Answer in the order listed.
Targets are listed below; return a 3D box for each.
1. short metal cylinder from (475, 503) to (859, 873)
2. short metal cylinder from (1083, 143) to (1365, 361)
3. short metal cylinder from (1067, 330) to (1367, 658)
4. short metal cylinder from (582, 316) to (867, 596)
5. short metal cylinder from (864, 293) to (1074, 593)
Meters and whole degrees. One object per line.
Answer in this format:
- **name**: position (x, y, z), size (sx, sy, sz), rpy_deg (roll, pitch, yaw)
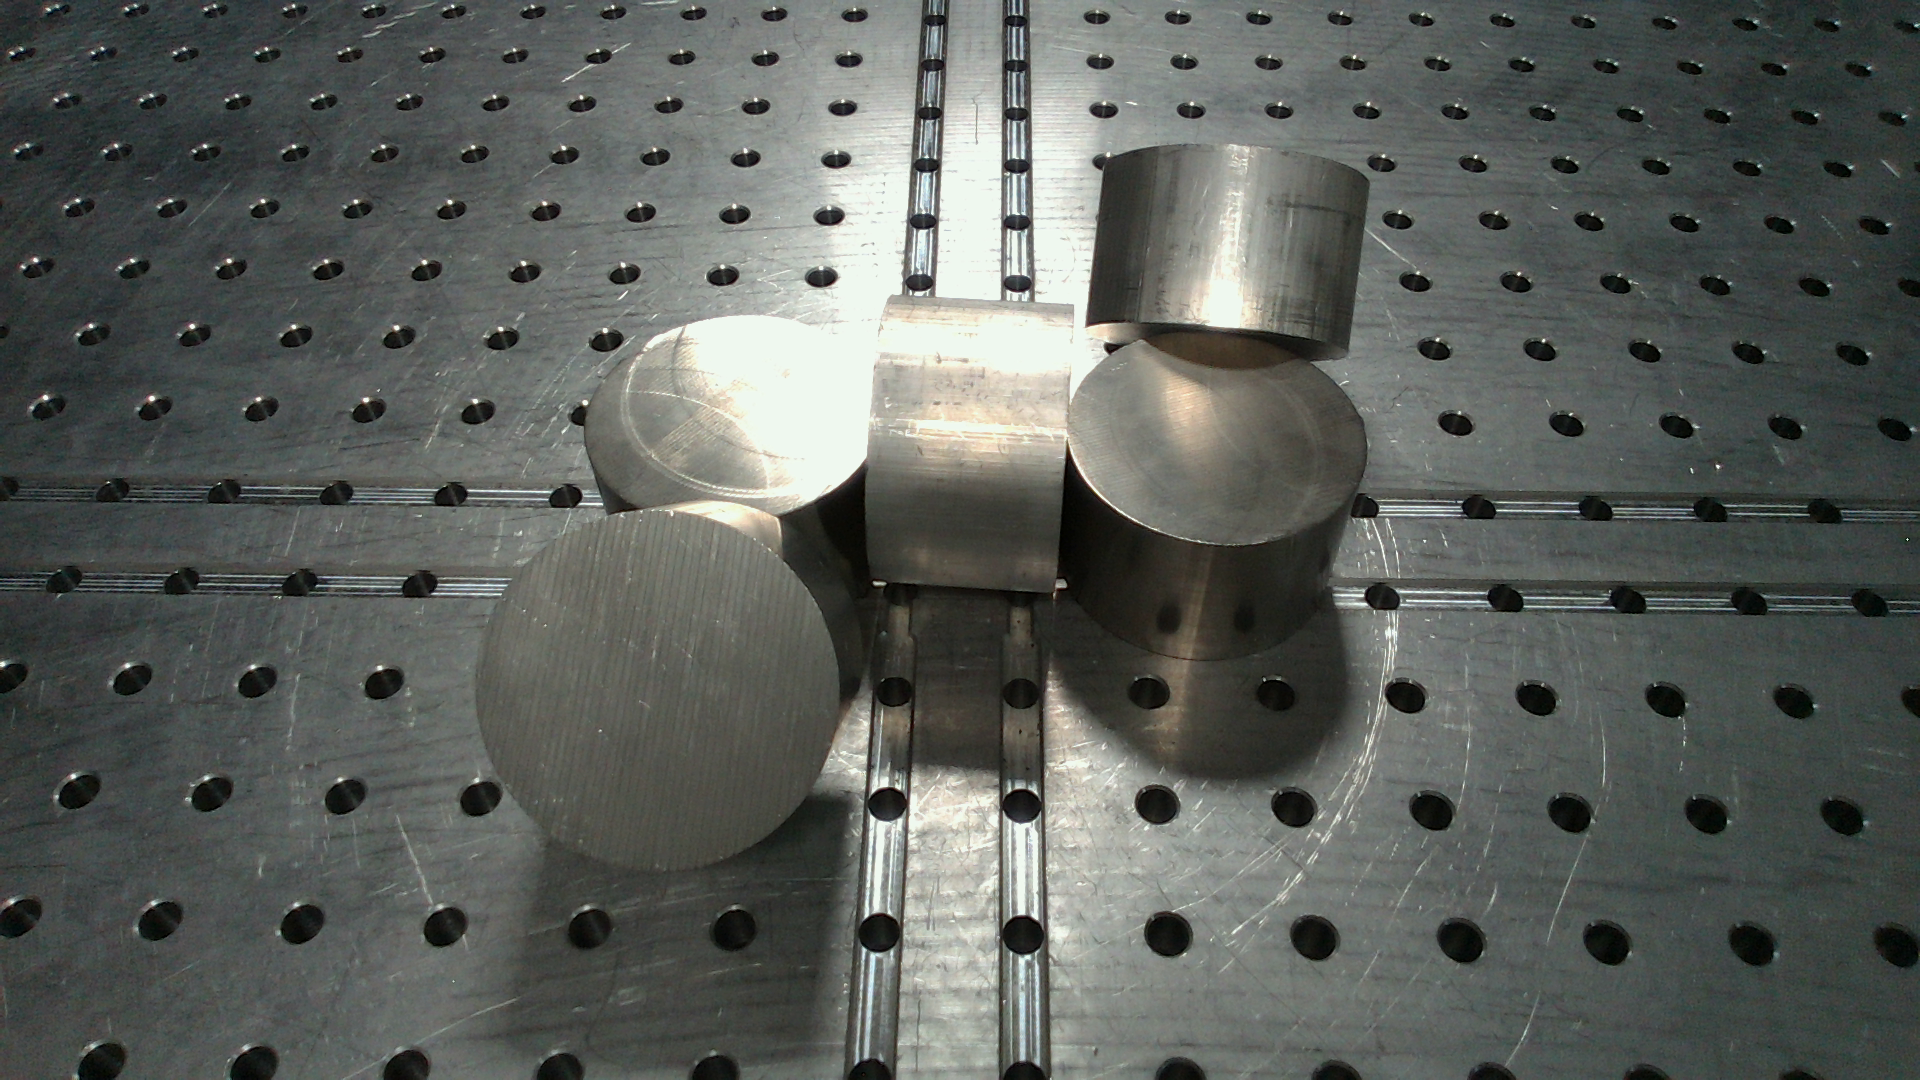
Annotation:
- **short metal cylinder**: position (-0.065, 0.032, 0.325), size (0.080, 0.050, 0.080), rpy_deg (0, 94, 1)
- **short metal cylinder**: position (0.081, -0.085, 0.422), size (0.080, 0.080, 0.050), rpy_deg (6, 92, 6)
- **short metal cylinder**: position (0.069, -0.014, 0.389), size (0.080, 0.050, 0.080), rpy_deg (0, 50, 0)
- **short metal cylinder**: position (-0.062, -0.018, 0.393), size (0.080, 0.050, 0.080), rpy_deg (0, 50, 0)
- **short metal cylinder**: position (0.004, -0.027, 0.381), size (0.050, 0.080, 0.080), rpy_deg (4, 50, 3)
